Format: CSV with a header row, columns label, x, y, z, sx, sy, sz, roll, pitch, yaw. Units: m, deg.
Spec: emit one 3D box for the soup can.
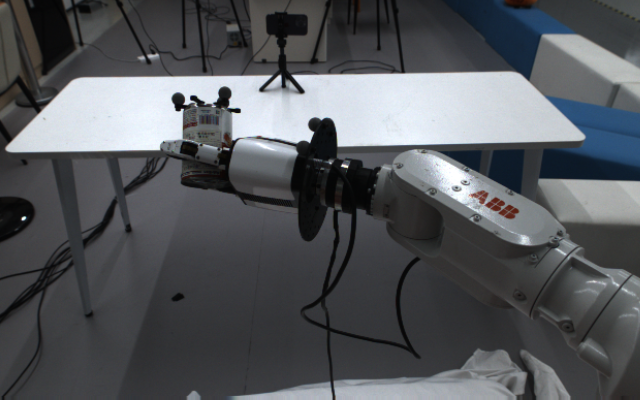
label,x,y,z,sx,sy,sz,roll,pitch,yaw
soup can,-0.152,-0.070,0.652,0.067,0.101,0.067,-2,-9,0
